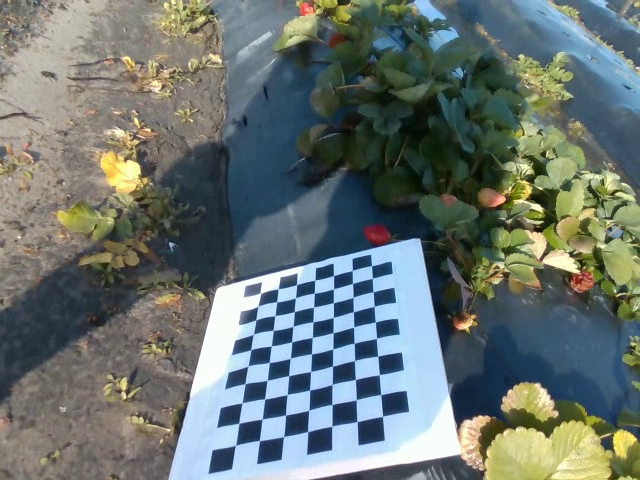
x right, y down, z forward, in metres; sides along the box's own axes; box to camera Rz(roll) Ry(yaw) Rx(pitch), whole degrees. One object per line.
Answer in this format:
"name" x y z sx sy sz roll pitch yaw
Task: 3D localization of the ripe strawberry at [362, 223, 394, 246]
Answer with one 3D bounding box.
"ripe strawberry" 0.059 -0.003 0.696 0.037 0.033 0.035 28 31 -19
